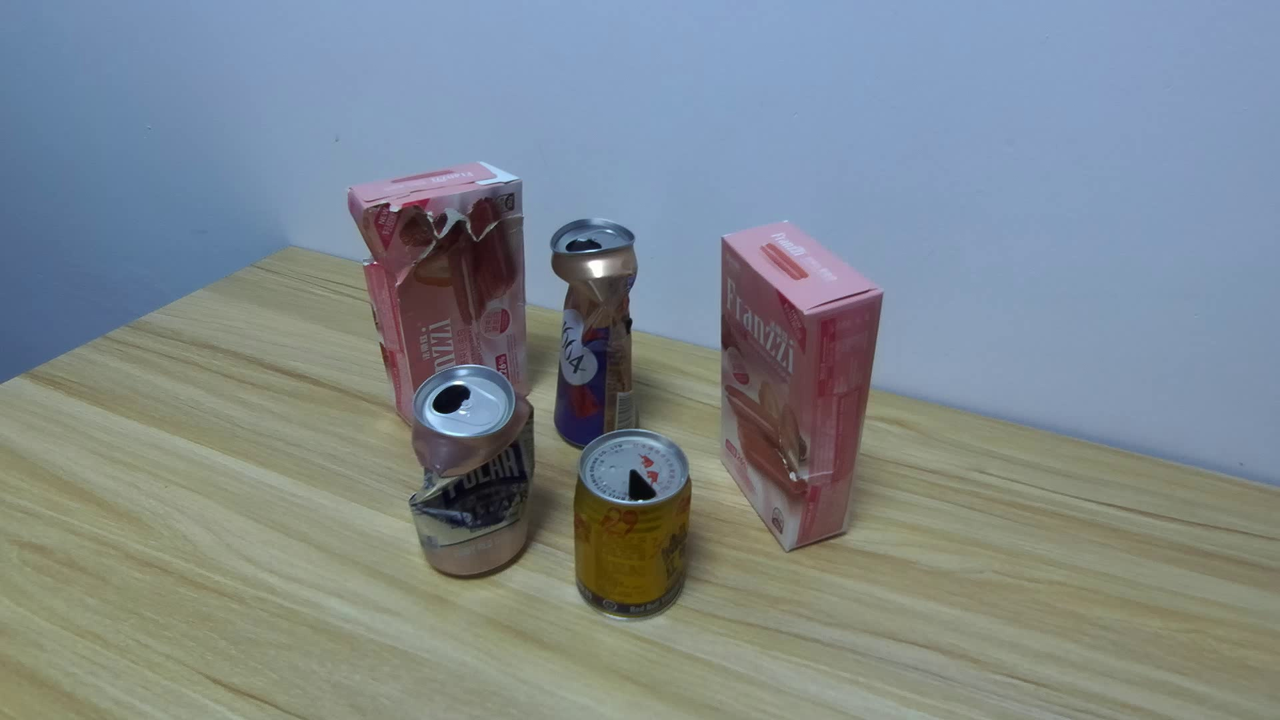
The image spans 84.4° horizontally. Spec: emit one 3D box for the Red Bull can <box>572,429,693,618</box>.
[{"bbox_3d":[-0.005,0.094,0.403,0.069,0.092,0.069,1,33,-1],"label":"Red Bull can"}]

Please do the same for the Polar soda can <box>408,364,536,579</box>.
[{"bbox_3d":[-0.099,0.070,0.414,0.066,0.122,0.071,11,35,6],"label":"Polar soda can"}]

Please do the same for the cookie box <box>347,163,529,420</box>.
[{"bbox_3d":[-0.135,-0.039,0.511,0.105,0.186,0.059,-23,40,-31],"label":"cookie box"}]

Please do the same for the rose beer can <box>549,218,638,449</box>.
[{"bbox_3d":[-0.030,-0.014,0.503,0.073,0.162,0.068,20,37,28],"label":"rose beer can"}]

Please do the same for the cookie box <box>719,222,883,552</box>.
[{"bbox_3d":[0.093,0.024,0.433,0.049,0.188,0.104,-16,37,-14],"label":"cookie box"}]
